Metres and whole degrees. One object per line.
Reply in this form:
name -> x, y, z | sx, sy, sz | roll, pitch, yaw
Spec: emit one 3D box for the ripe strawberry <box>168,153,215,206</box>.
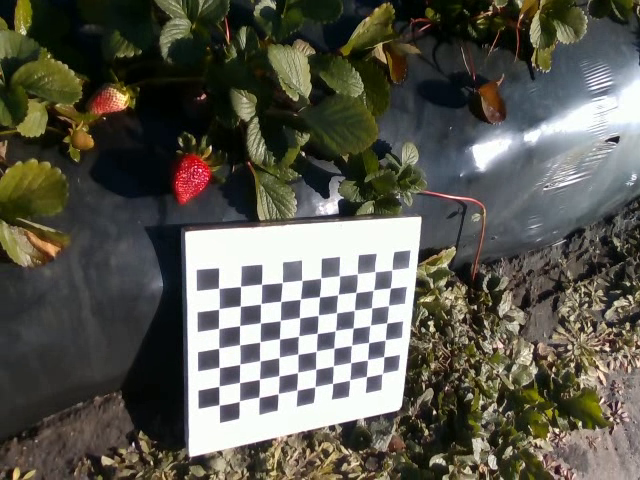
ripe strawberry -> -0.137, -0.060, 0.582 | 0.058, 0.062, 0.065 | -34, -57, 20
